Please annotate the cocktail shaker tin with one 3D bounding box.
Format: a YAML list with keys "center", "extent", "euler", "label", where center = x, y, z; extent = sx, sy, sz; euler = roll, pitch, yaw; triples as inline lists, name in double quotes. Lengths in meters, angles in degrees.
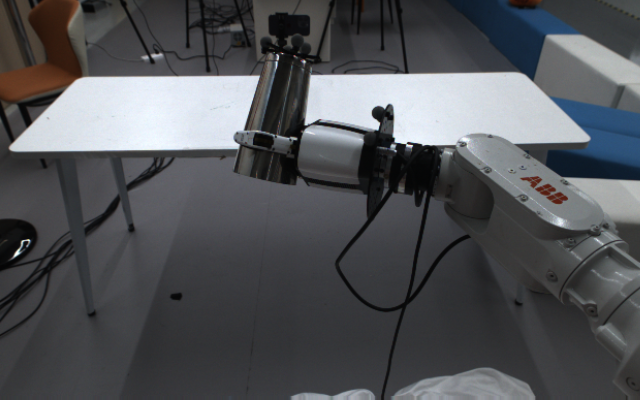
- center: [-0.062, -0.114, 0.683]
  extent: [0.093, 0.170, 0.093]
  euler: [12, 4, -1]
  label: "cocktail shaker tin"
